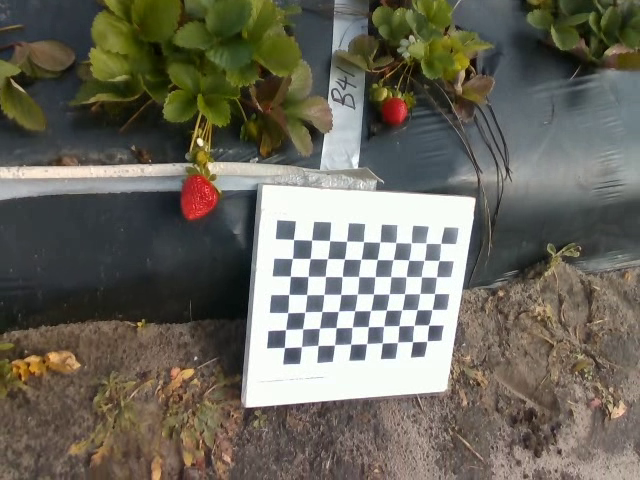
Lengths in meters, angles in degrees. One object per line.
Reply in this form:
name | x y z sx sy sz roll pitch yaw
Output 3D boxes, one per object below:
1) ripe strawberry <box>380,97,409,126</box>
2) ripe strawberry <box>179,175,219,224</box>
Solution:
ripe strawberry | 0.092 -0.153 0.703 0.037 0.048 0.031 16 -48 -23
ripe strawberry | -0.124 -0.041 0.595 0.047 0.053 0.030 43 -30 -25
